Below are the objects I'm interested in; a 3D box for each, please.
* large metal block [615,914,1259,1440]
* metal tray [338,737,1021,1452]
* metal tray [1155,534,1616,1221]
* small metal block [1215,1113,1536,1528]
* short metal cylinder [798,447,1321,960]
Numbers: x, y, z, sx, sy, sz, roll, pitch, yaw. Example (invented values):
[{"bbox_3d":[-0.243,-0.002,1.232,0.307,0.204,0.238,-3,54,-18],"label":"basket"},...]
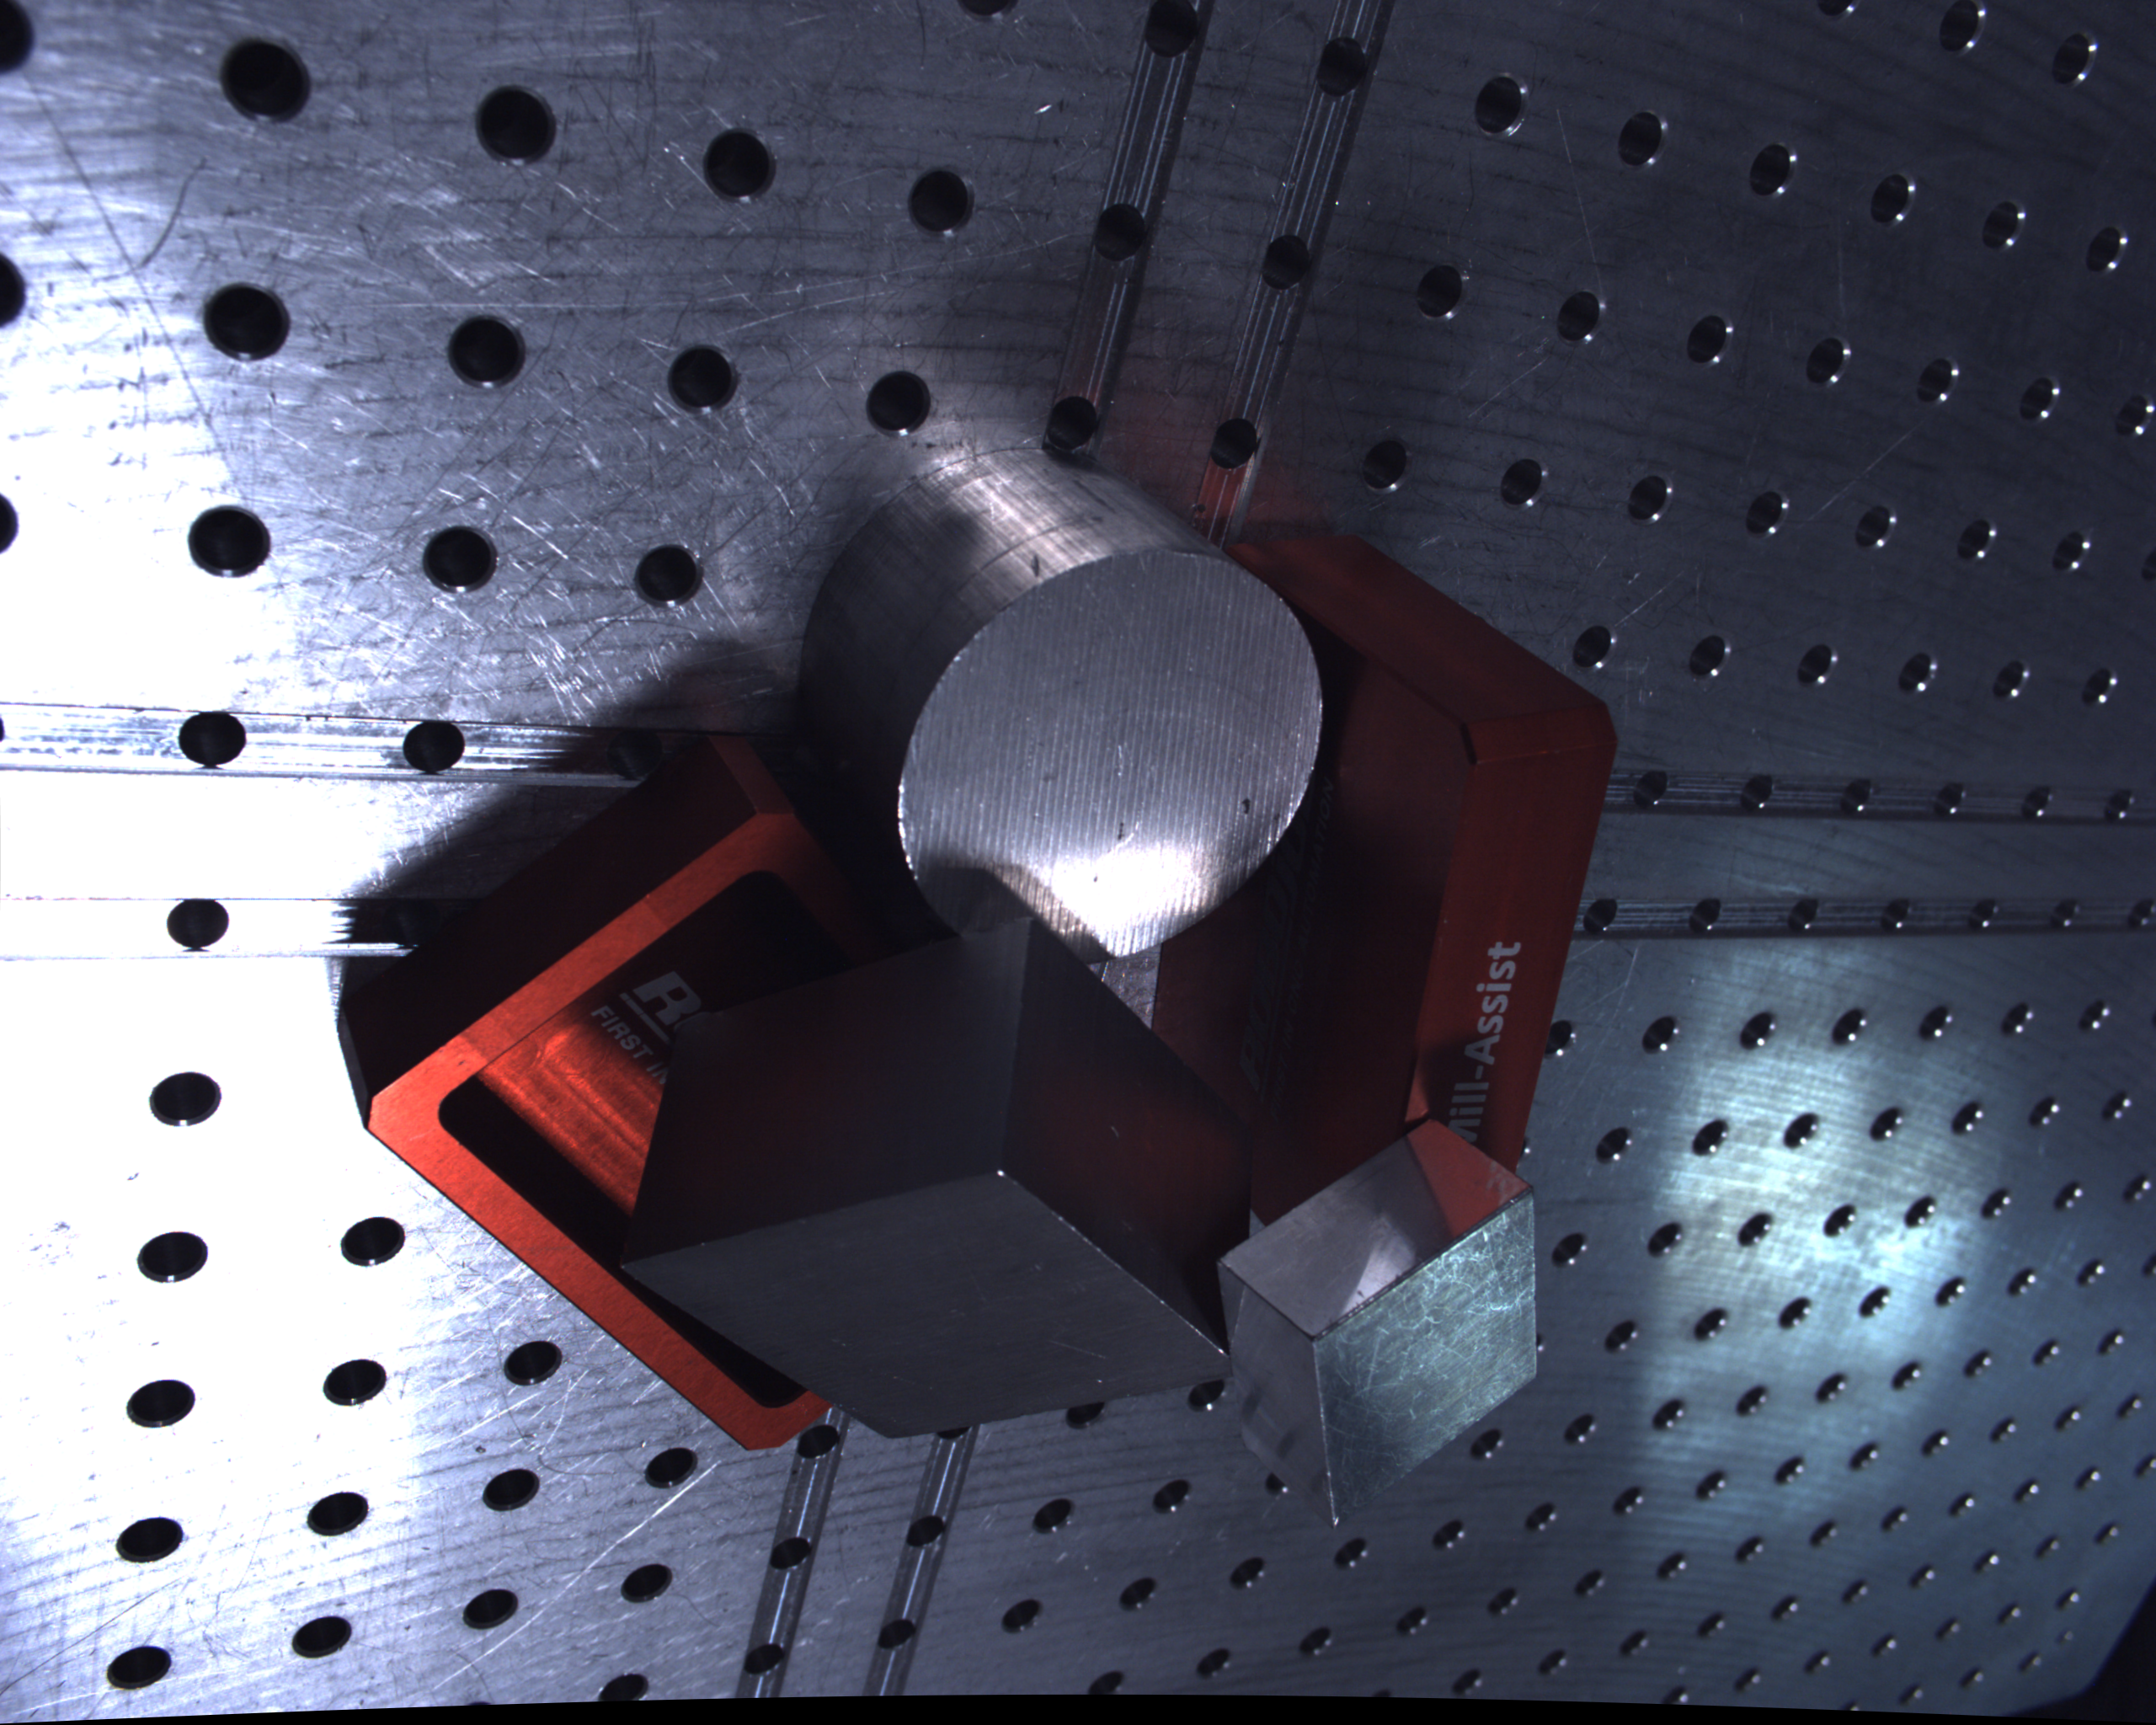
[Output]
[{"bbox_3d":[-0.022,0.061,0.382,0.080,0.050,0.080,-18,136,27],"label":"large metal block"},{"bbox_3d":[-0.064,0.049,0.403,0.090,0.030,0.130,-37,130,-4],"label":"metal tray"},{"bbox_3d":[0.053,0.012,0.407,0.030,0.090,0.129,-9,123,-24],"label":"metal tray"},{"bbox_3d":[0.054,0.081,0.371,0.050,0.025,0.050,-29,130,-25],"label":"small metal block"},{"bbox_3d":[-0.004,-0.029,0.377,0.081,0.050,0.079,-14,125,-21],"label":"short metal cylinder"}]
